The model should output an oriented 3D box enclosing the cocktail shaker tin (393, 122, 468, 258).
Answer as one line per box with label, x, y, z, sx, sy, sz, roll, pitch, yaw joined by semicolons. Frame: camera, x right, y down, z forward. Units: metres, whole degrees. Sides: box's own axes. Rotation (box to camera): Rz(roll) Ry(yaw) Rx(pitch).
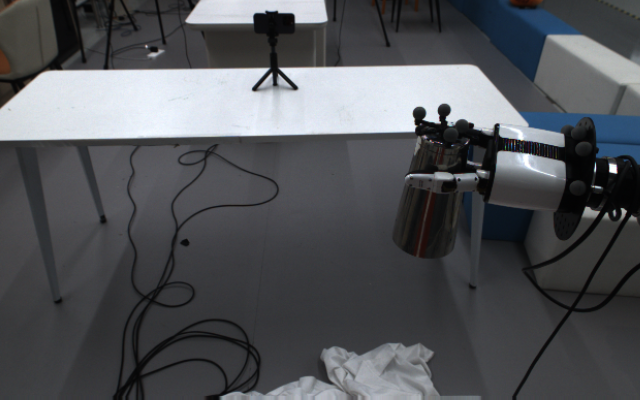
cocktail shaker tin;0.160;-0.017;0.678;0.093;0.170;0.093;3;33;-2
